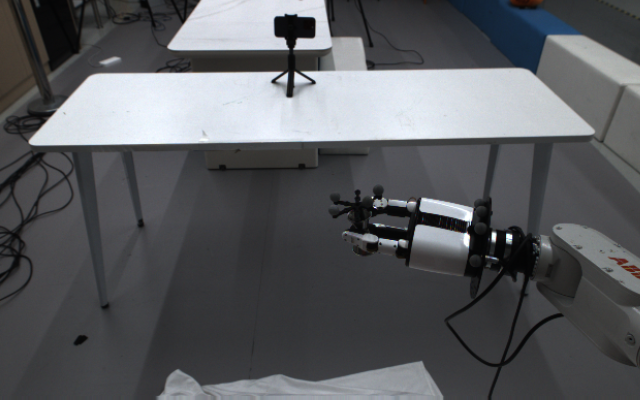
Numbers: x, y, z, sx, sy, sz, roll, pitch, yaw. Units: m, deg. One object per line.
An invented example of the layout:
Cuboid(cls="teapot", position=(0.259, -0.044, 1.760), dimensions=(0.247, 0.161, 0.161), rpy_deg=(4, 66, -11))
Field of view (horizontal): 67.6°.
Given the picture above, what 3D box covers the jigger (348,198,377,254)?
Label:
Cuboid(cls="jigger", position=(0.069, 0.049, 0.785), dimensions=(0.043, 0.071, 0.043), rpy_deg=(-10, 32, 6))
